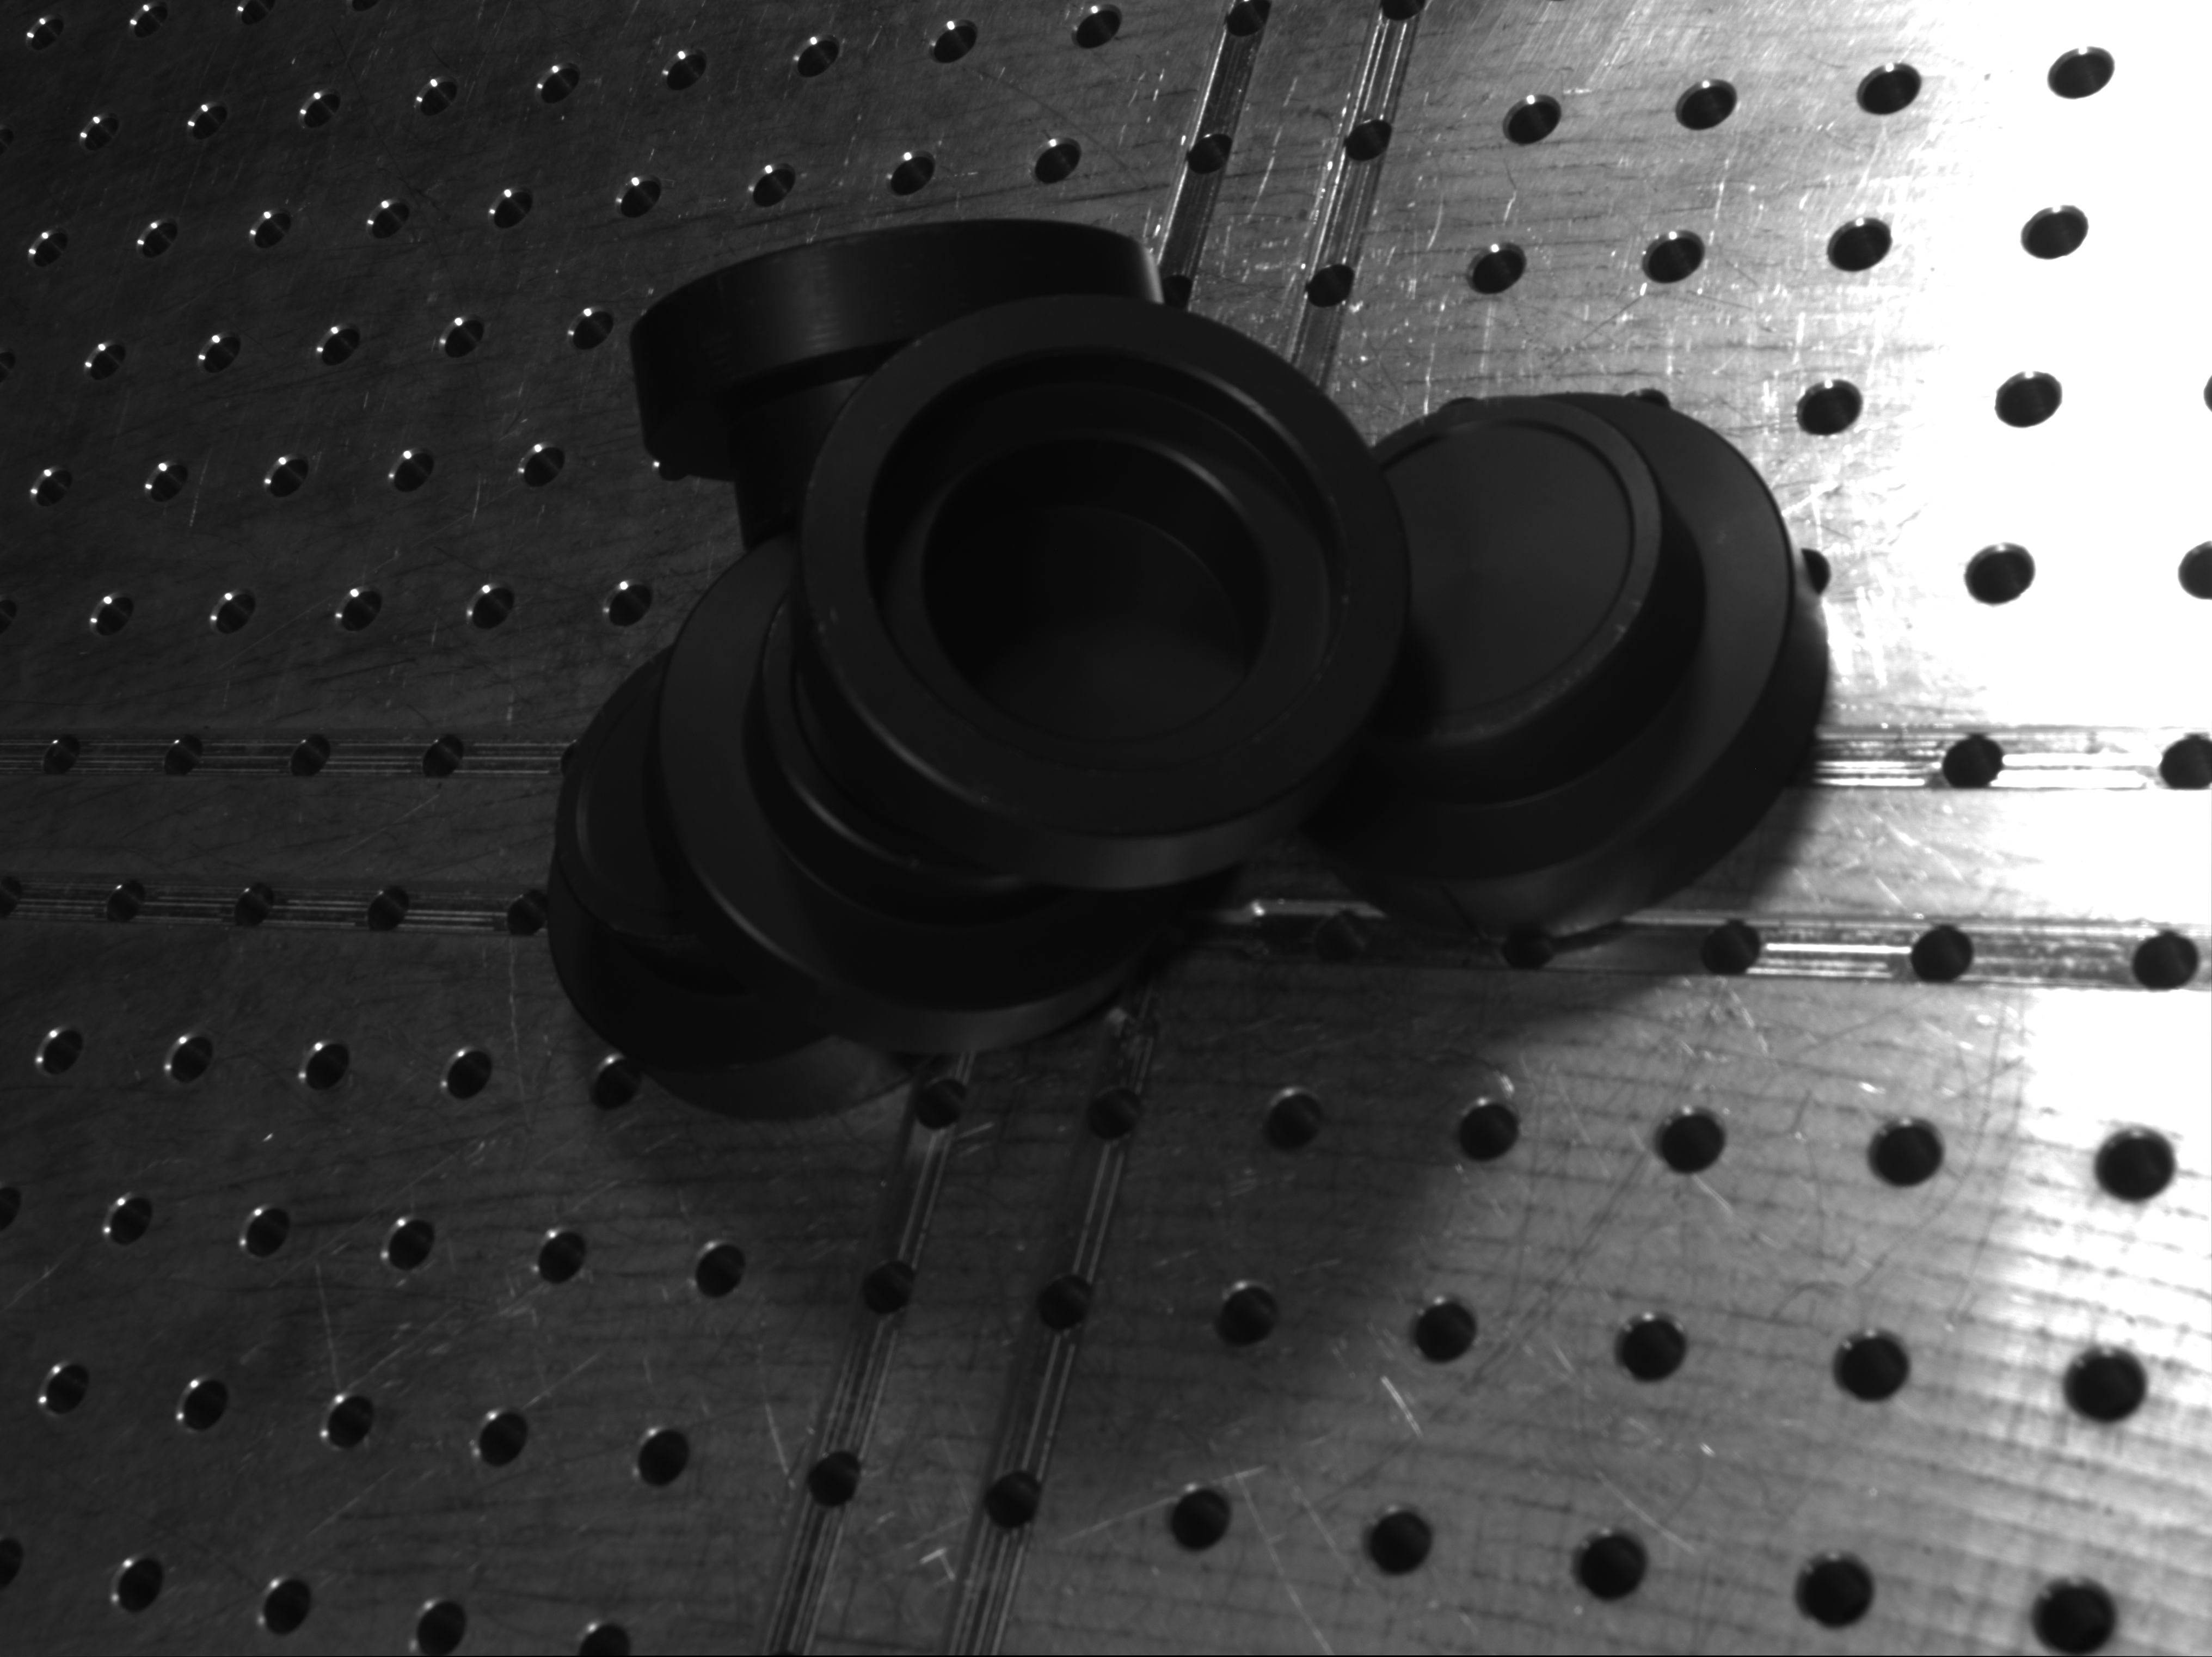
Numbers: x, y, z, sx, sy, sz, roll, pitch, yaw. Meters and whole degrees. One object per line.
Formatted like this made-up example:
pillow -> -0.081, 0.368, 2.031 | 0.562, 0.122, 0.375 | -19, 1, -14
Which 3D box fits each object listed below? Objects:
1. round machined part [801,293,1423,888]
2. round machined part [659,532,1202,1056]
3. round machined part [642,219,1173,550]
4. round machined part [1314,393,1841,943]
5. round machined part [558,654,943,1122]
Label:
round machined part -> -0.001, -0.035, 0.596 | 0.098, 0.042, 0.098 | 3, 65, -7
round machined part -> -0.026, -0.014, 0.628 | 0.098, 0.042, 0.098 | 5, 63, -11
round machined part -> -0.034, -0.076, 0.672 | 0.098, 0.098, 0.042 | -12, 82, 22
round machined part -> 0.071, -0.033, 0.619 | 0.098, 0.042, 0.098 | -13, 56, 21
round machined part -> -0.059, 0.000, 0.668 | 0.098, 0.042, 0.098 | -13, 56, 21
